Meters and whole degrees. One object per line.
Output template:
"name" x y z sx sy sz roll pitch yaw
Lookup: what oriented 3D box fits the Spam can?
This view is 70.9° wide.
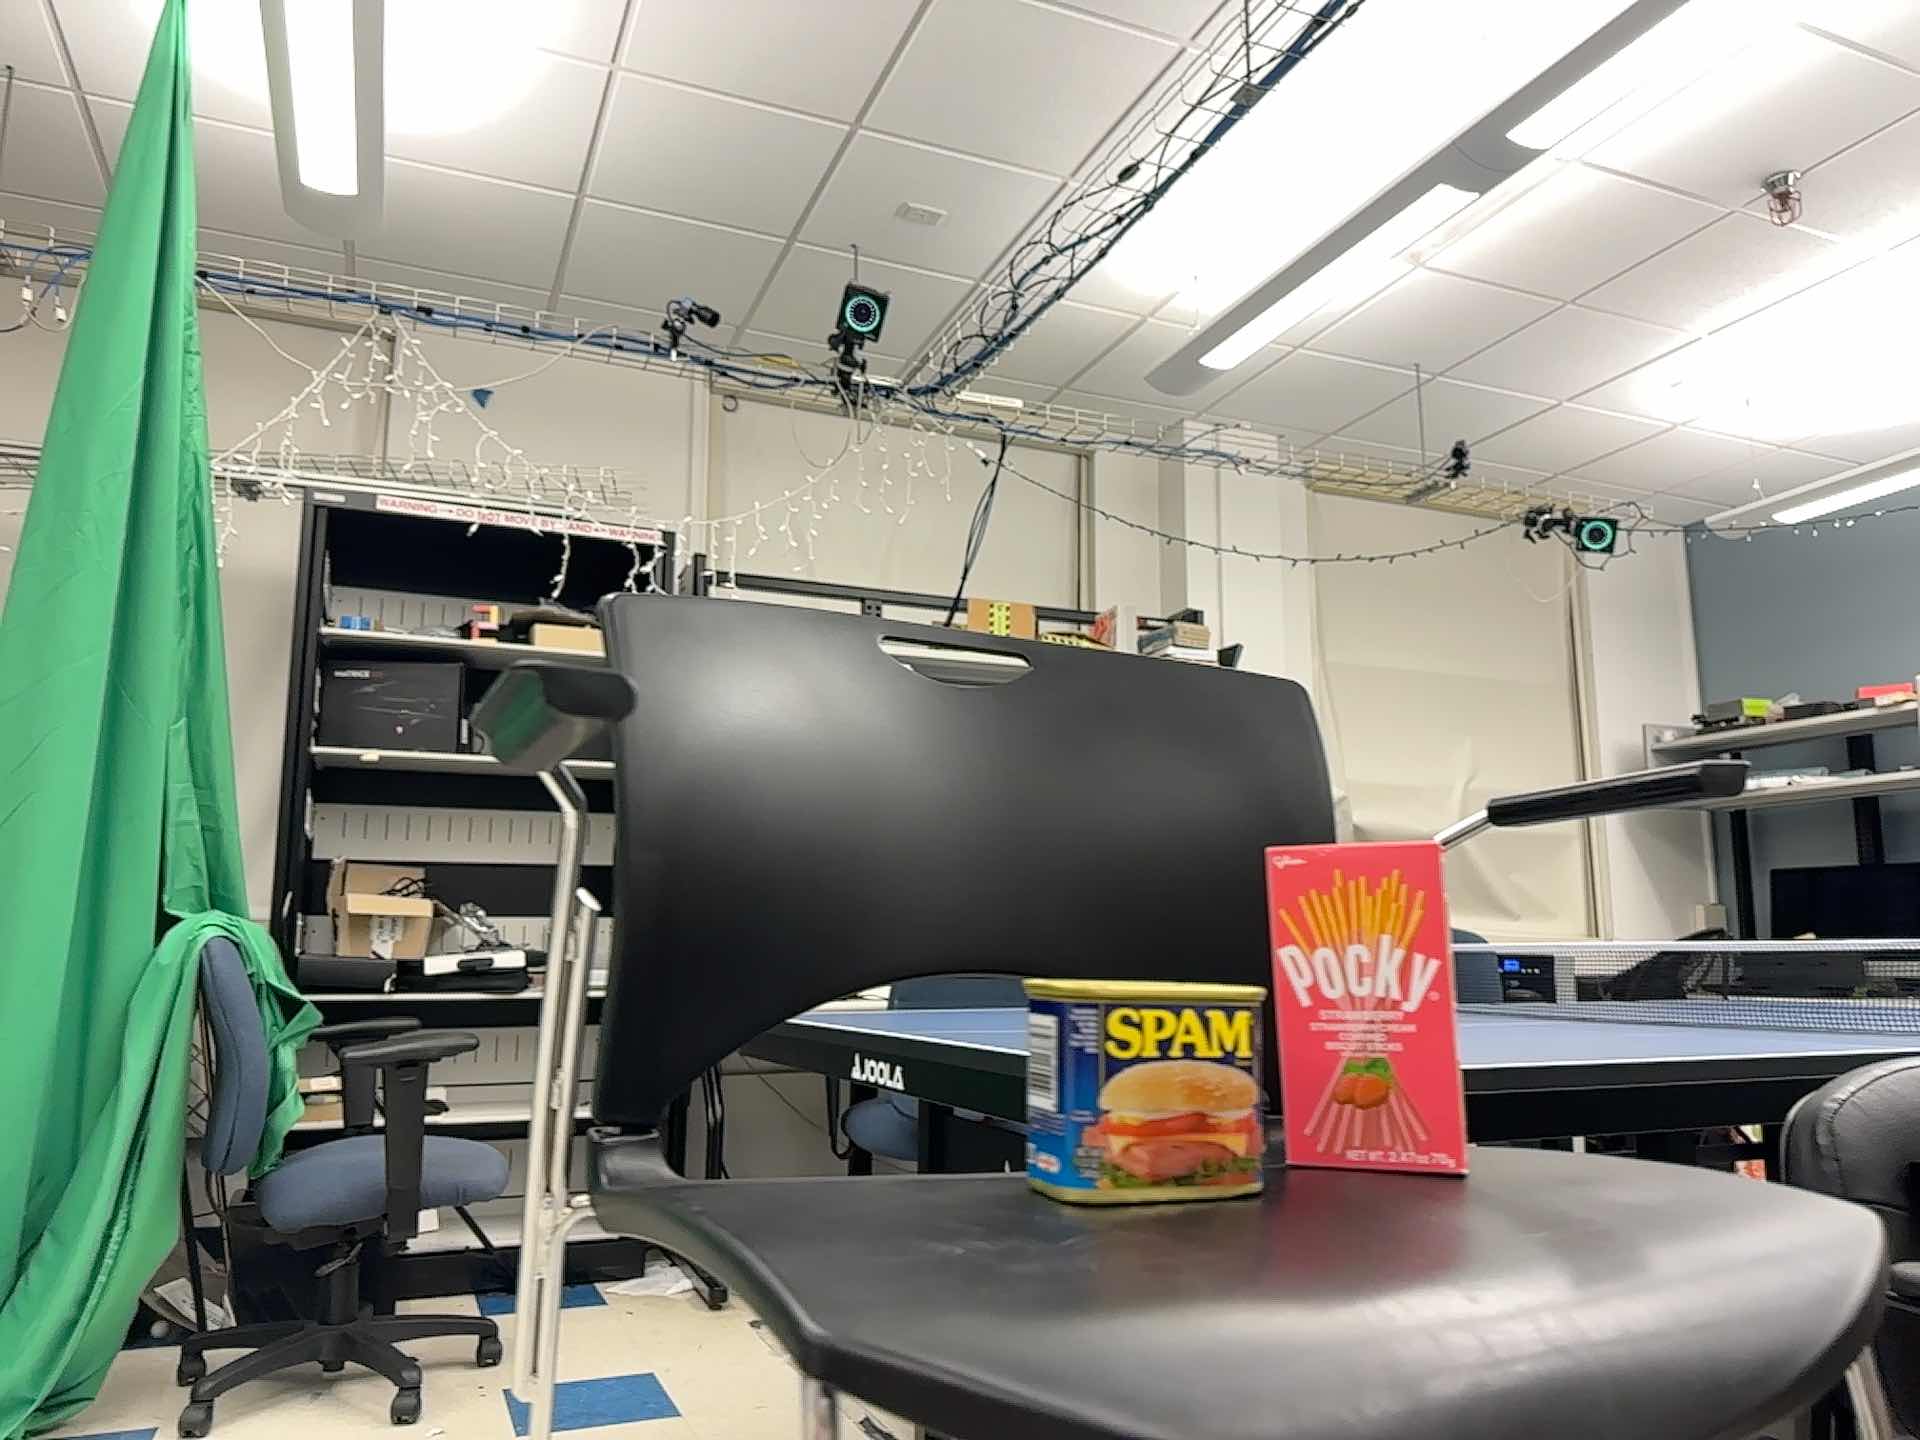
"Spam can" 0.079 0.156 0.572 0.100 0.083 0.056 4 -10 -18

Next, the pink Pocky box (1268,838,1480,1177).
"pink Pocky box" 0.197 0.137 0.647 0.084 0.155 0.029 -6 -10 25
